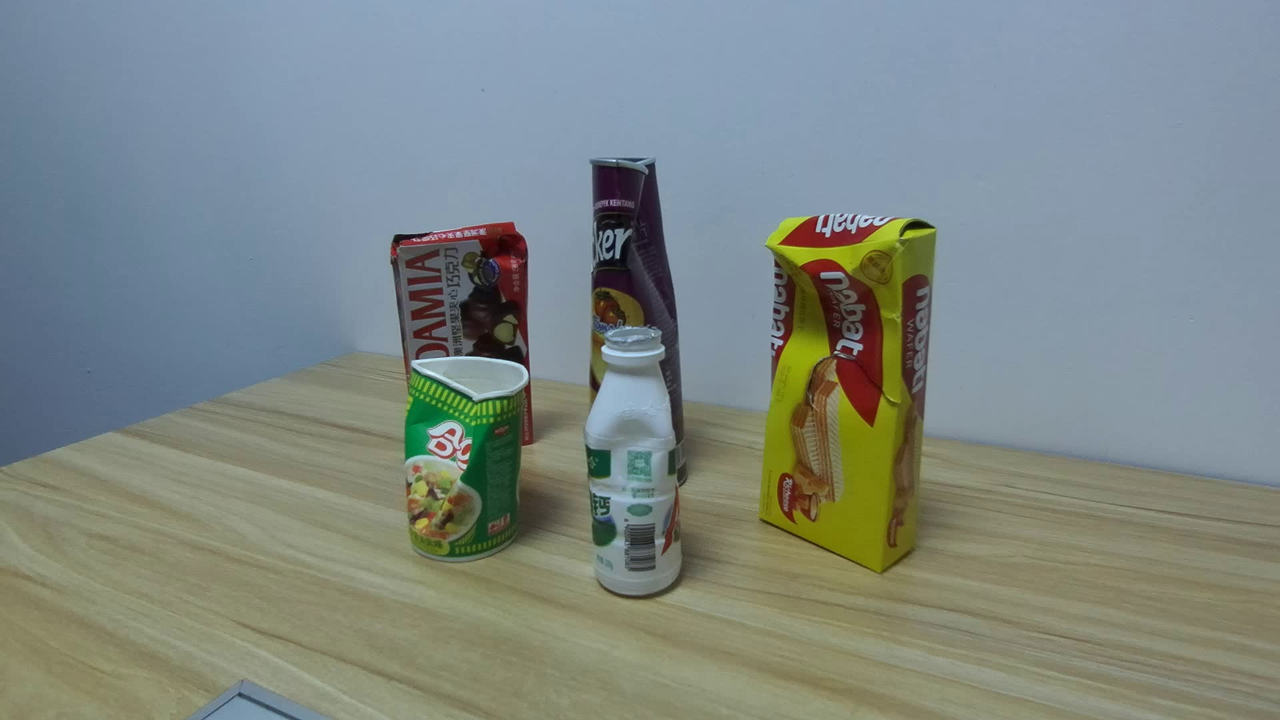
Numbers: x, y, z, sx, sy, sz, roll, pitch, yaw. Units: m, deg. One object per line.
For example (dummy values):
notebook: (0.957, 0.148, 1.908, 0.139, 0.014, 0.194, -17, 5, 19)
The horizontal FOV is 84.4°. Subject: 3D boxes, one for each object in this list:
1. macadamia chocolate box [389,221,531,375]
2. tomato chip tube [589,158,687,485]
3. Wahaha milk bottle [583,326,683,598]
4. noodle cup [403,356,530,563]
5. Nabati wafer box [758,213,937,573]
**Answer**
macadamia chocolate box: (-0.137, -0.014, 0.567, 0.103, 0.187, 0.027, -8, 24, -20)
tomato chip tube: (-0.002, -0.024, 0.511, 0.078, 0.235, 0.076, -10, 18, -31)
Wahaha milk bottle: (-0.004, 0.056, 0.395, 0.055, 0.149, 0.055, -2, 17, 1)
noodle cup: (-0.112, 0.062, 0.449, 0.075, 0.122, 0.082, 3, 9, -12)
Nabati wafer box: (0.118, 0.016, 0.426, 0.042, 0.204, 0.106, -17, 23, -39)
